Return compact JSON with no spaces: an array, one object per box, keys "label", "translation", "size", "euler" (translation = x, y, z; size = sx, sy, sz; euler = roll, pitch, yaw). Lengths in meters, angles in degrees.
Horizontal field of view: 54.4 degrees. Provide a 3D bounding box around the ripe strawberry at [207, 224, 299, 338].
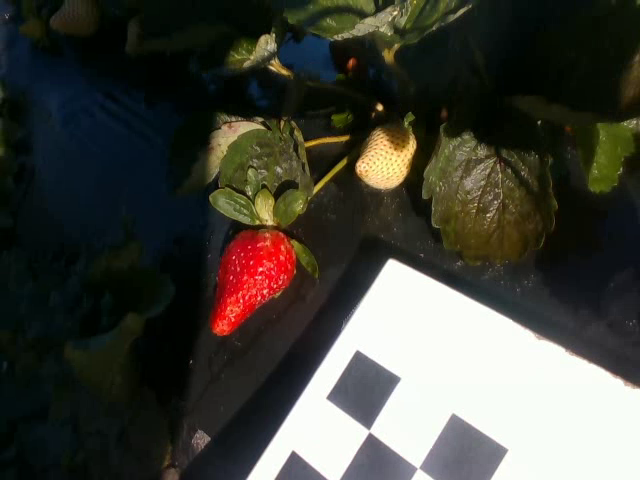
[{"label":"ripe strawberry","translation":[-0.037,0.021,0.300],"size":[0.048,0.069,0.040],"euler":[7,-27,30]}]
